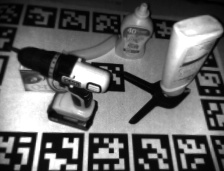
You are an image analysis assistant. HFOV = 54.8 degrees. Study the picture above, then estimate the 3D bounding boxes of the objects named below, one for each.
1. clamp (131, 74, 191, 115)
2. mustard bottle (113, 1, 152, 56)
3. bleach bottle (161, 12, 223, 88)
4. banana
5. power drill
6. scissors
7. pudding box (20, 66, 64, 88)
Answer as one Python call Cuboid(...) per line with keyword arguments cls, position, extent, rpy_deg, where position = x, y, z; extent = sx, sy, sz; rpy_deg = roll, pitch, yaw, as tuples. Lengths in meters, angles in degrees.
Cuboid(cls="clamp", position=(0.135, -0.001, 0.626), extent=(0.204, 0.036, 0.164), rpy_deg=(-3, 63, -14))
Cuboid(cls="mustard bottle", position=(0.065, -0.168, 0.641), extent=(0.096, 0.191, 0.058), rpy_deg=(14, 59, -2))
Cuboid(cls="bleach bottle", position=(0.183, -0.066, 0.550), extent=(0.103, 0.252, 0.067), rpy_deg=(-18, 60, -10))
Cuboid(cls="banana", position=(-0.051, -0.152, 0.687), extent=(0.198, 0.039, 0.073), rpy_deg=(-35, 55, -25))
Cuboid(cls="power drill", position=(-0.105, 0.001, 0.476), extent=(0.184, 0.187, 0.057), rpy_deg=(12, 52, 1))
Cuboid(cls="scissors", position=(-0.177, -0.074, 0.521), extent=(0.203, 0.016, 0.088), rpy_deg=(26, 63, -1))
Cuboid(cls="pudding box", position=(-0.176, -0.035, 0.574), extent=(0.114, 0.090, 0.038), rpy_deg=(6, 53, -7))
